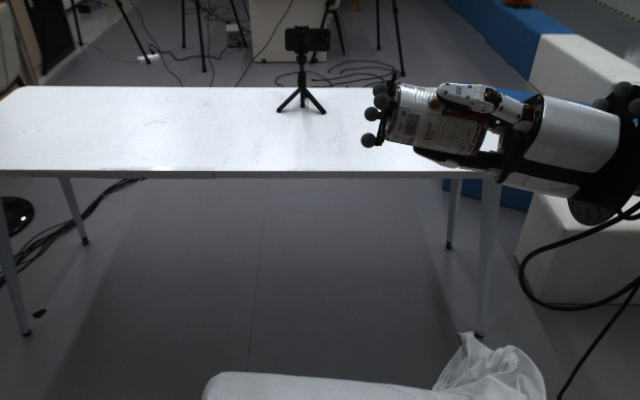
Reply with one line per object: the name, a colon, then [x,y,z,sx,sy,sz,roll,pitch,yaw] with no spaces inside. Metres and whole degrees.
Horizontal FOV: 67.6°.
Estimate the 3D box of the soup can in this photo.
soup can: [0.130,-0.092,0.547,0.101,0.067,0.067,11,35,-2]
